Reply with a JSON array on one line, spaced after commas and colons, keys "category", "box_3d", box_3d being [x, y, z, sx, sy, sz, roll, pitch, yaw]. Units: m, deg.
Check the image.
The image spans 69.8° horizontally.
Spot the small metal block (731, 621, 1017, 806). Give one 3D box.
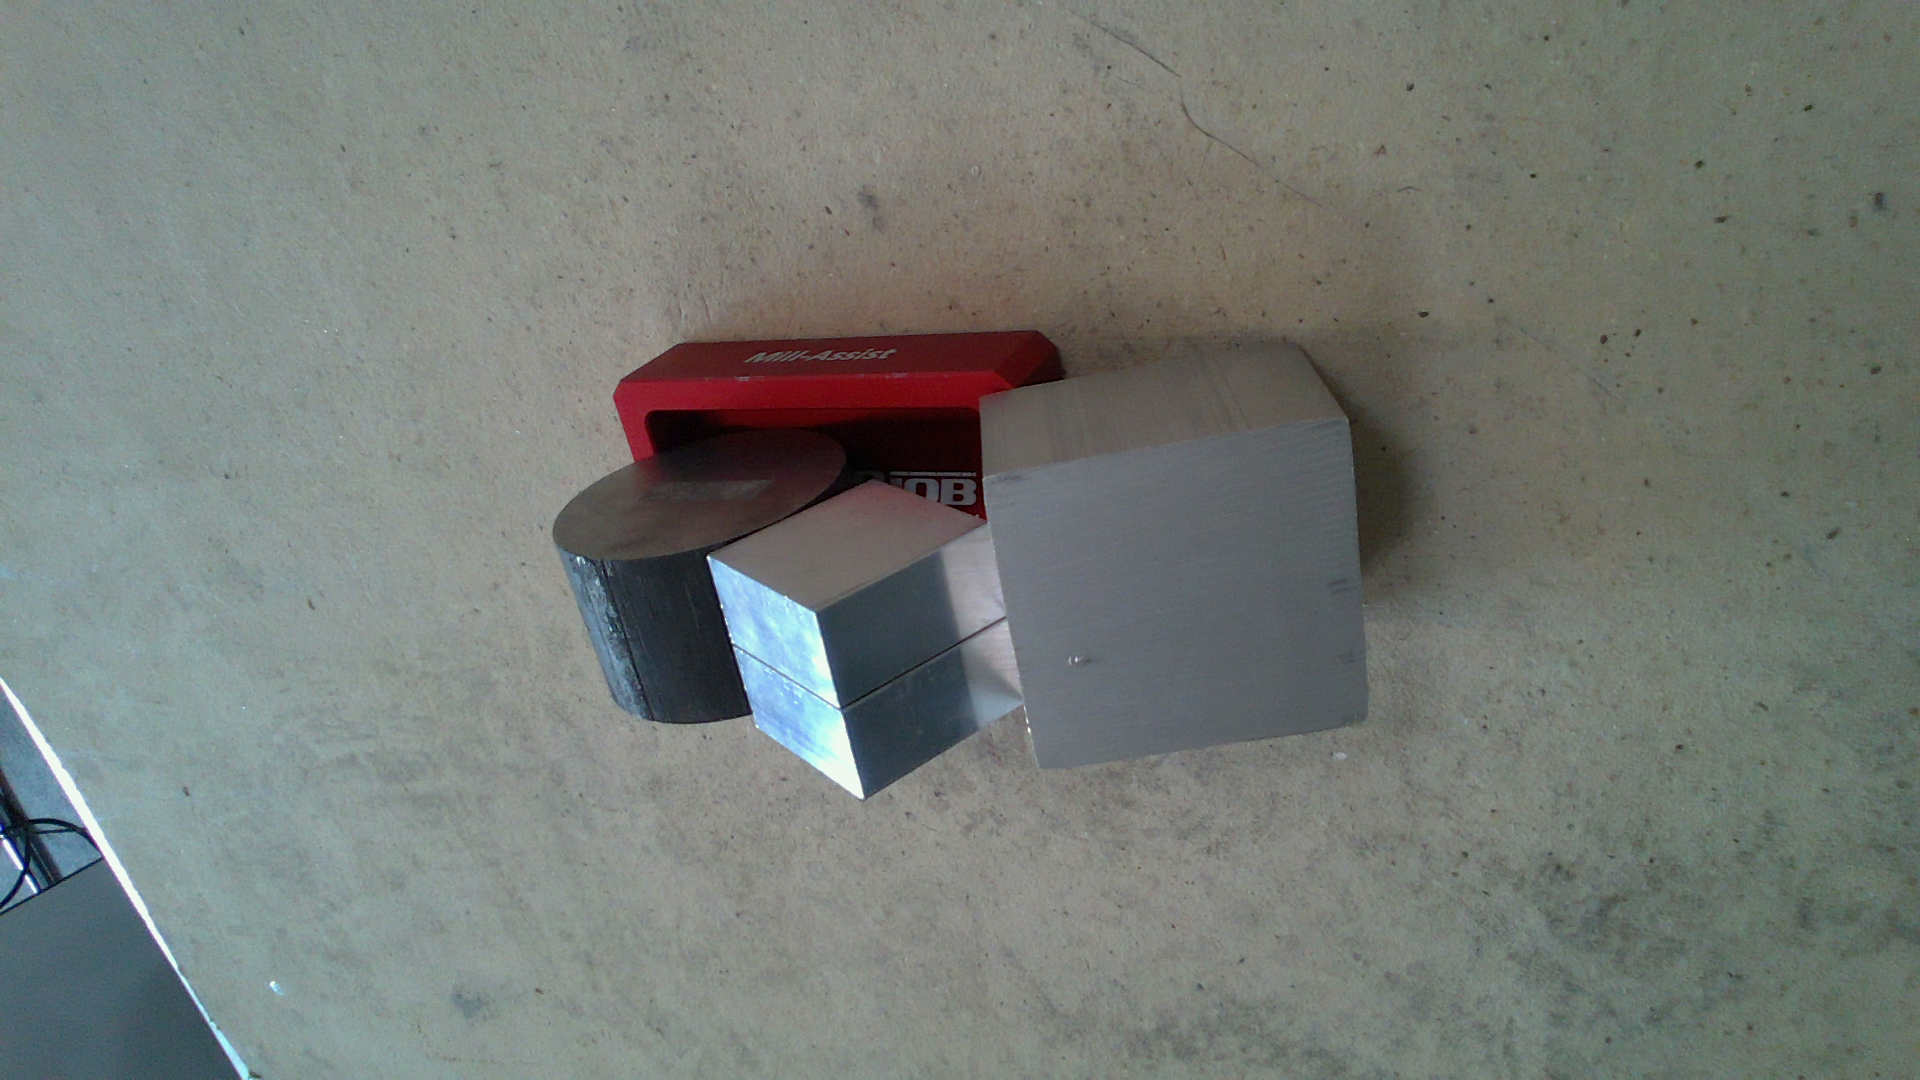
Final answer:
[{"category": "small metal block", "box_3d": [-0.020, 0.034, 0.340, 0.050, 0.050, 0.025, 21, 130, 49]}]

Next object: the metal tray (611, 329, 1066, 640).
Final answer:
[{"category": "metal tray", "box_3d": [-0.030, -0.011, 0.399, 0.130, 0.030, 0.090, 2, 120, 27]}]

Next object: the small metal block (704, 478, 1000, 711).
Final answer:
[{"category": "small metal block", "box_3d": [-0.025, 0.011, 0.329, 0.050, 0.050, 0.025, 21, 130, 49]}]

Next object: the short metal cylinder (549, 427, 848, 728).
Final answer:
[{"category": "short metal cylinder", "box_3d": [-0.066, 0.008, 0.381, 0.080, 0.080, 0.050, 1, 119, 28]}]

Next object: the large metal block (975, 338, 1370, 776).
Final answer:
[{"category": "large metal block", "box_3d": [0.050, 0.004, 0.333, 0.080, 0.050, 0.080, -10, 117, 4]}]
